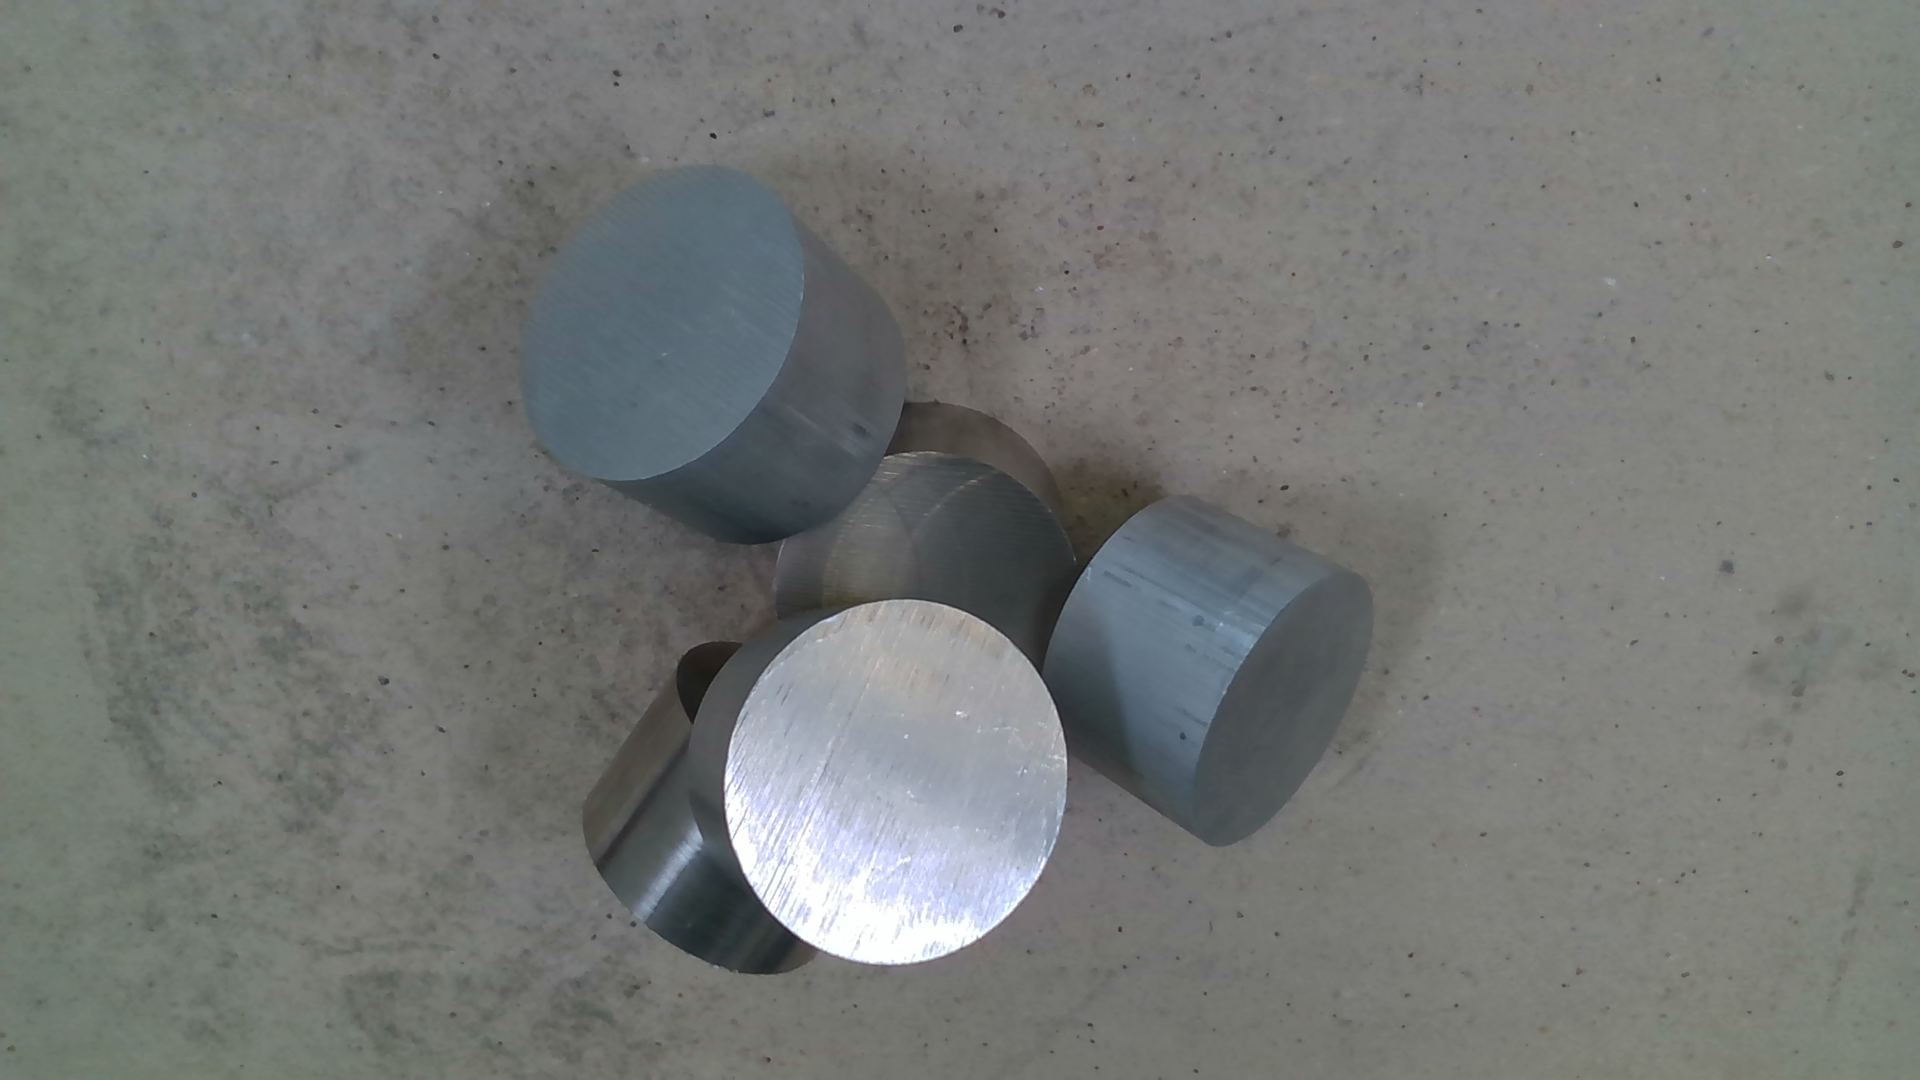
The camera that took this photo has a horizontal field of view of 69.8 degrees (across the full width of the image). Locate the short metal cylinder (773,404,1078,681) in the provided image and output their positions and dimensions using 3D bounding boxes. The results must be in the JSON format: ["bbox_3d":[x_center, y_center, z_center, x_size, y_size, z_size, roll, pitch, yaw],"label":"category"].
[{"bbox_3d":[-0.009,0.006,0.382,0.080,0.050,0.080,0,110,0],"label":"short metal cylinder"}]

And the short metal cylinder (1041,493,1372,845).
[{"bbox_3d":[0.066,0.034,0.370,0.050,0.080,0.080,29,114,36],"label":"short metal cylinder"}]

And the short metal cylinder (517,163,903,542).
[{"bbox_3d":[-0.061,-0.045,0.342,0.080,0.050,0.080,-8,70,23],"label":"short metal cylinder"}]

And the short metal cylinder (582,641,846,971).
[{"bbox_3d":[-0.059,0.074,0.392,0.080,0.080,0.050,33,107,-11],"label":"short metal cylinder"}]

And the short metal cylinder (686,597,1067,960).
[{"bbox_3d":[-0.021,0.054,0.329,0.080,0.050,0.080,2,86,-20],"label":"short metal cylinder"}]
